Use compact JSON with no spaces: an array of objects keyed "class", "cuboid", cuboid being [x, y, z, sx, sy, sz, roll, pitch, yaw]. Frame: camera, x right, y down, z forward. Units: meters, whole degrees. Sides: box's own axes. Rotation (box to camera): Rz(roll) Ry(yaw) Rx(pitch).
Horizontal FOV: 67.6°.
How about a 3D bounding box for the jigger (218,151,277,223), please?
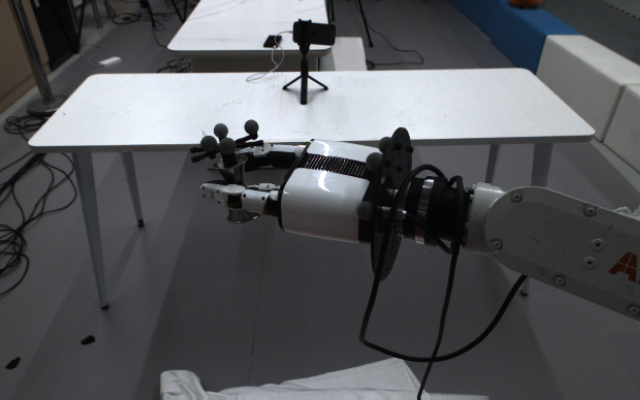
[{"class":"jigger","cuboid":[-0.092,-0.014,0.562,0.043,0.071,0.043,-10,23,5]}]
